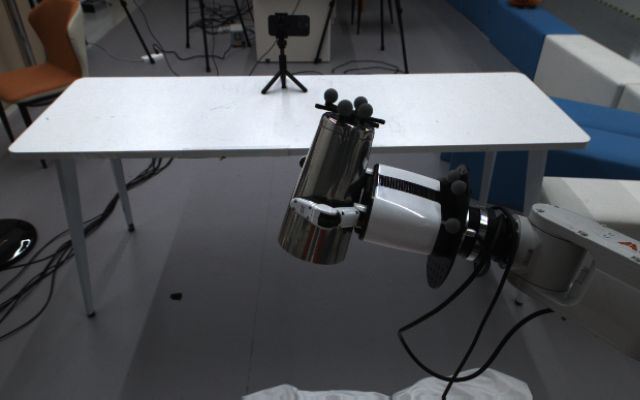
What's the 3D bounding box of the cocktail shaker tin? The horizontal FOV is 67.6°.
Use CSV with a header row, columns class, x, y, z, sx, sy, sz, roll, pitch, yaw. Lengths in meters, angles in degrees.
class,x,y,z,sx,sy,sz,roll,pitch,yaw
cocktail shaker tin,0.013,-0.017,0.601,0.093,0.170,0.093,14,19,-5
